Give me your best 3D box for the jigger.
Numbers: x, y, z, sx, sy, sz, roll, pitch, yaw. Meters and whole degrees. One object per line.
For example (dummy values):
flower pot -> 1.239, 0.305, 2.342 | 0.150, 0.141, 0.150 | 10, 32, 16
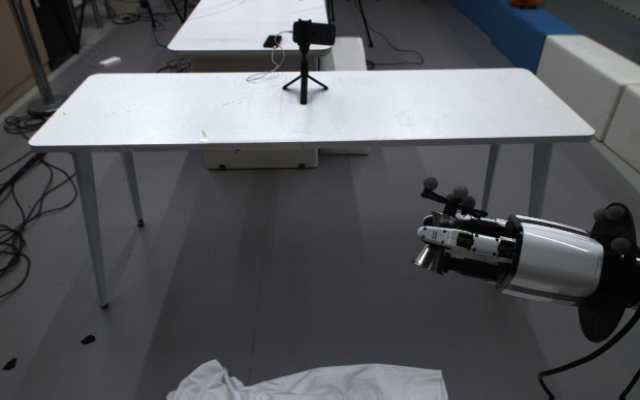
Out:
jigger -> 0.140, 0.050, 0.584 | 0.043, 0.071, 0.043 | 24, -3, 1
